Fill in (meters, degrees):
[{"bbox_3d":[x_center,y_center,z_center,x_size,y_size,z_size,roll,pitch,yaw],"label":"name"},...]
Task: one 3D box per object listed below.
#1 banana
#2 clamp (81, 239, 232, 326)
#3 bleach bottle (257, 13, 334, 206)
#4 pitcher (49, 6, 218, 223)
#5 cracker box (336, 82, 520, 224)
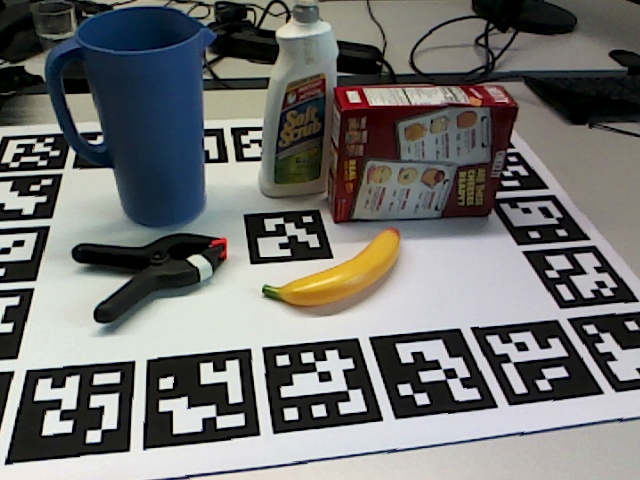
[{"bbox_3d":[0.041,0.038,0.735,0.075,0.039,0.196,32,46,33],"label":"banana"},{"bbox_3d":[-0.179,0.035,0.712,0.164,0.036,0.122,-15,39,-24],"label":"clamp"},{"bbox_3d":[-0.035,-0.167,0.812,0.102,0.250,0.068,-5,37,-10],"label":"bleach bottle"},{"bbox_3d":[-0.210,-0.142,0.738,0.188,0.242,0.134,-16,40,-26],"label":"pitcher"},{"bbox_3d":[0.130,-0.112,0.796,0.213,0.164,0.072,-5,35,-7],"label":"cracker box"}]
